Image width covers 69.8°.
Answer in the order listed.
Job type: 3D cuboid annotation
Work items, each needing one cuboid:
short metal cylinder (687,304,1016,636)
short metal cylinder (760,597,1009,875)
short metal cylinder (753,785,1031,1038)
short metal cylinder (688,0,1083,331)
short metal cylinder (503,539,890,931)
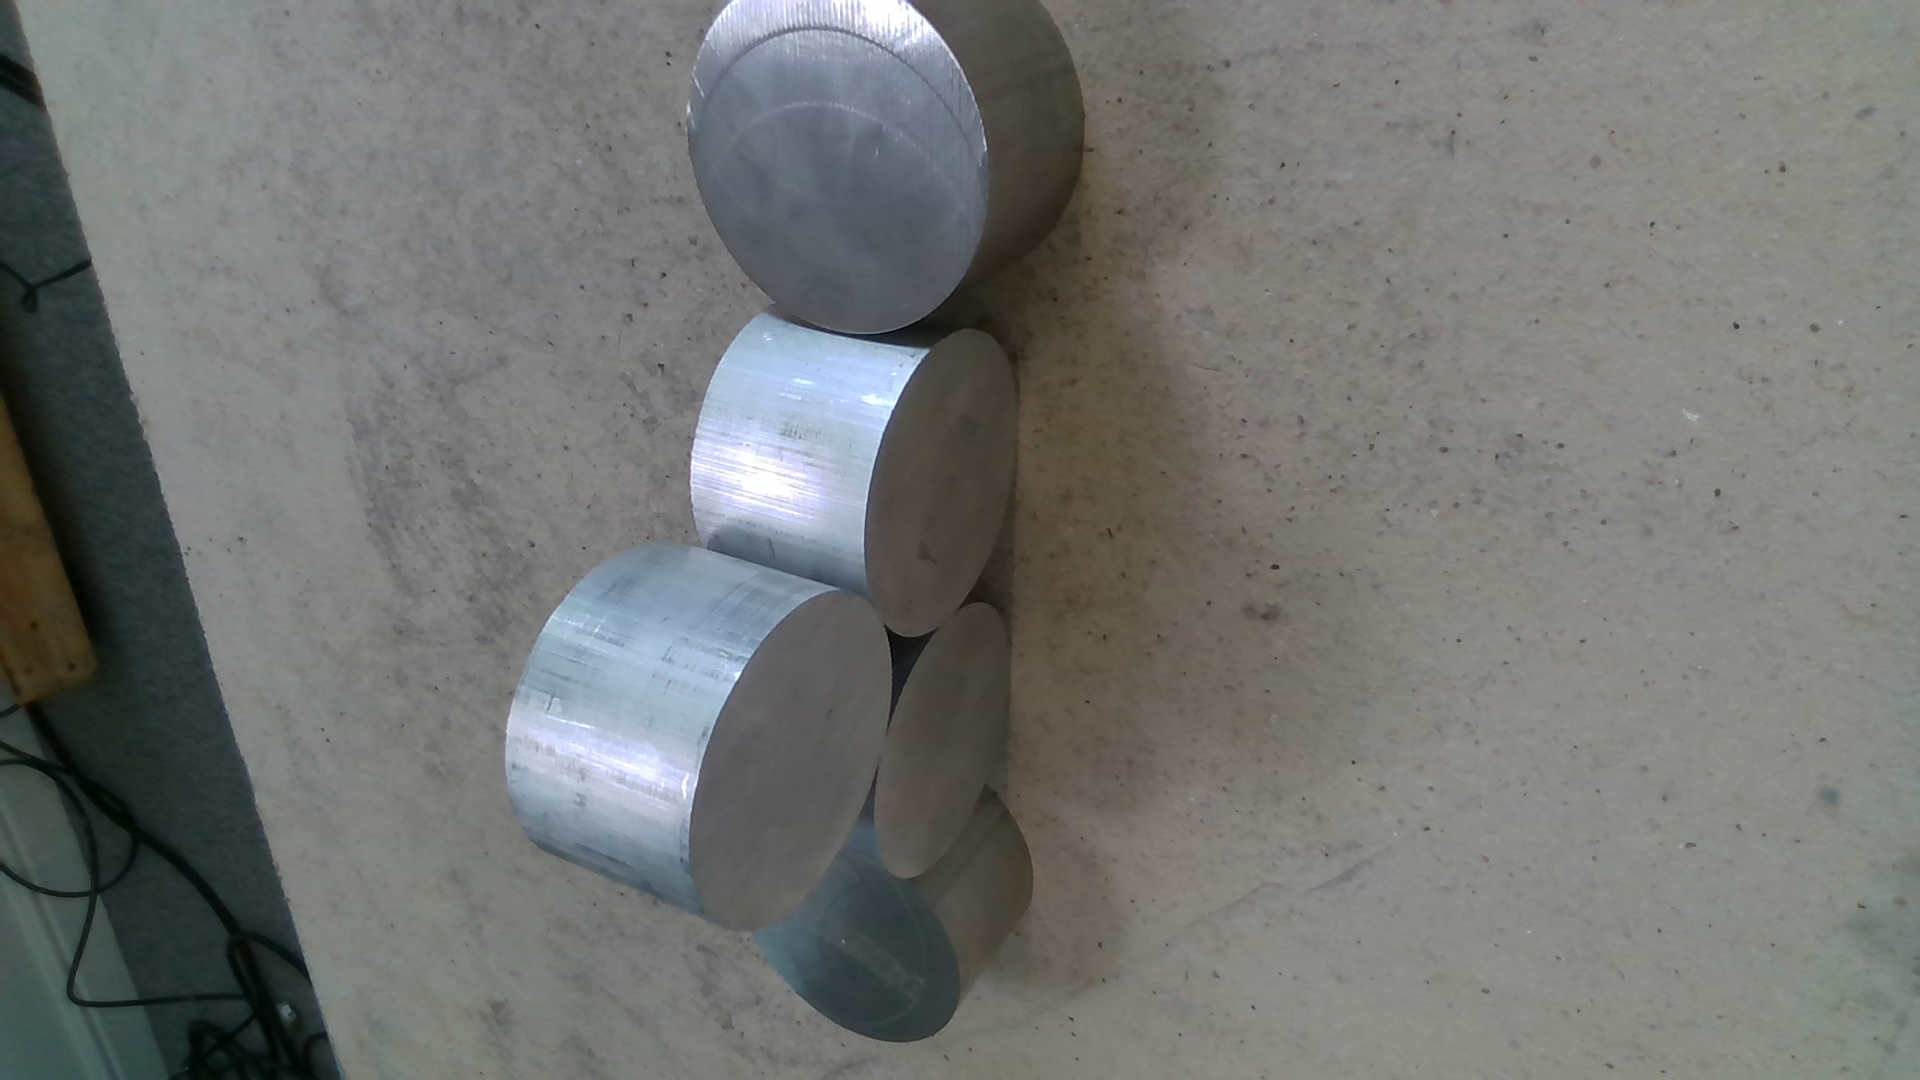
[{"bbox_3d":[-0.026,-0.020,0.358,0.050,0.080,0.080,15,122,25],"label":"short metal cylinder"},{"bbox_3d":[-0.026,0.050,0.397,0.050,0.080,0.080,14,122,24],"label":"short metal cylinder"},{"bbox_3d":[-0.024,0.113,0.449,0.080,0.050,0.080,15,122,25],"label":"short metal cylinder"},{"bbox_3d":[-0.017,-0.096,0.331,0.080,0.050,0.080,15,122,25],"label":"short metal cylinder"},{"bbox_3d":[-0.059,0.044,0.324,0.050,0.080,0.080,16,122,25],"label":"short metal cylinder"}]
